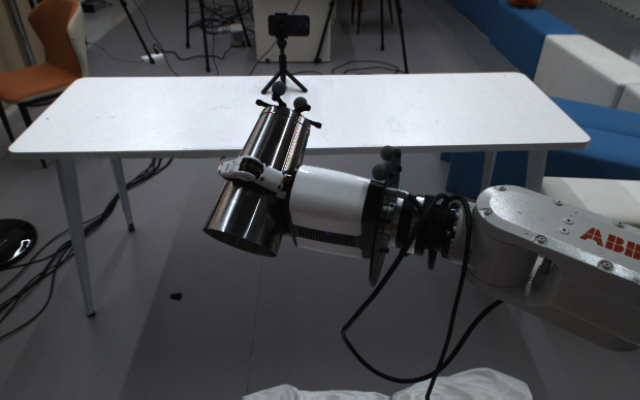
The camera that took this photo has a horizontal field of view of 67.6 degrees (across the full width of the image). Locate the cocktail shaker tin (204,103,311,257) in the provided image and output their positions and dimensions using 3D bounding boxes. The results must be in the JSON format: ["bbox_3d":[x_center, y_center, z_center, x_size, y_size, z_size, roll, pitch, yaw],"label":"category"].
[{"bbox_3d":[-0.069,-0.025,0.591,0.093,0.093,0.170,14,73,17],"label":"cocktail shaker tin"}]
